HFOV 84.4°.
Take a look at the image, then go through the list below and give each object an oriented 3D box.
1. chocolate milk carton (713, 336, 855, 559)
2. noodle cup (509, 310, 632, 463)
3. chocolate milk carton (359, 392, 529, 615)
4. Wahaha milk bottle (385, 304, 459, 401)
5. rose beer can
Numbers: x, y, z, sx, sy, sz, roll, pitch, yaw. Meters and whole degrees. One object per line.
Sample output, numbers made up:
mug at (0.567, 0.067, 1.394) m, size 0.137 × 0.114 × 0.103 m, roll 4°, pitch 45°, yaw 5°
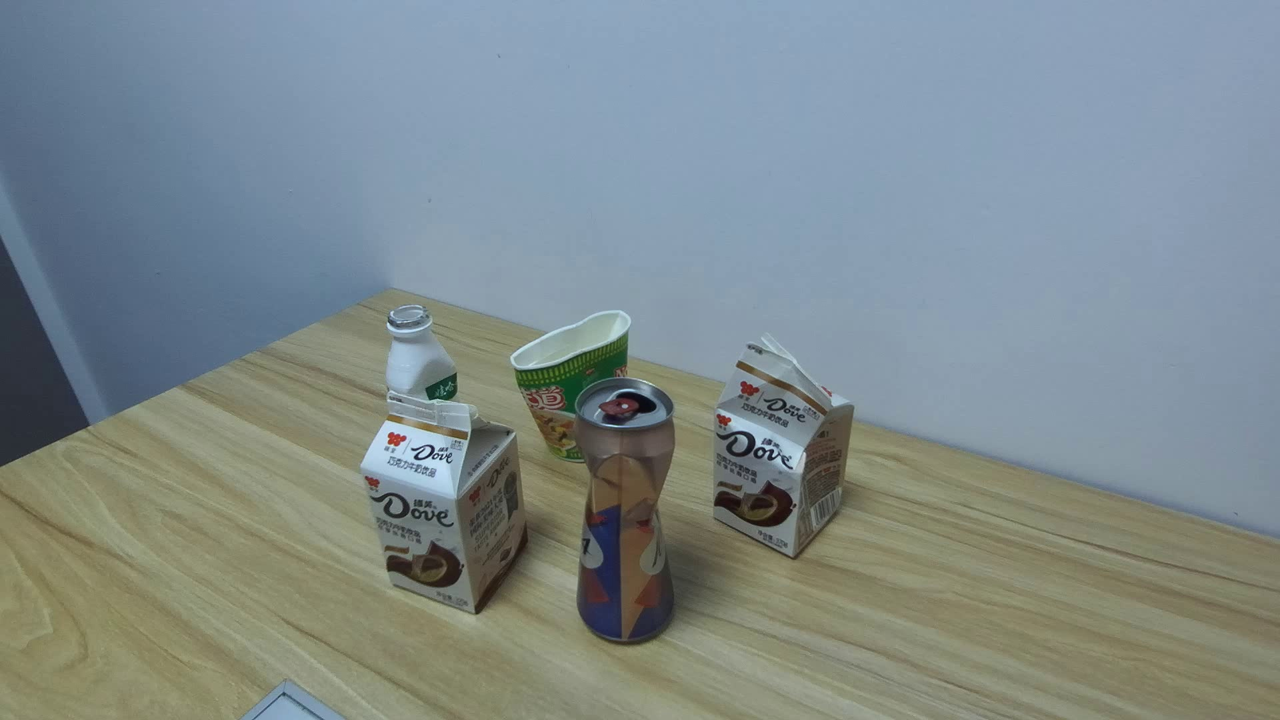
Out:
chocolate milk carton at (0.103, 0.055, 0.509) m, size 0.076 × 0.156 × 0.074 m, roll 23°, pitch 40°, yaw 34°
noodle cup at (-0.053, 0.028, 0.612) m, size 0.115 × 0.111 × 0.070 m, roll -14°, pitch 32°, yaw -21°
chocolate milk carton at (-0.129, 0.085, 0.474) m, size 0.075 × 0.148 × 0.074 m, roll 12°, pitch 34°, yaw 19°
Wahaha milk bottle at (-0.178, 0.024, 0.580) m, size 0.056 × 0.148 × 0.056 m, roll 2°, pitch 36°, yaw -1°
rose beer can at (-0.007, 0.097, 0.436) m, size 0.065 × 0.167 × 0.076 m, roll 6°, pitch 27°, yaw 9°
